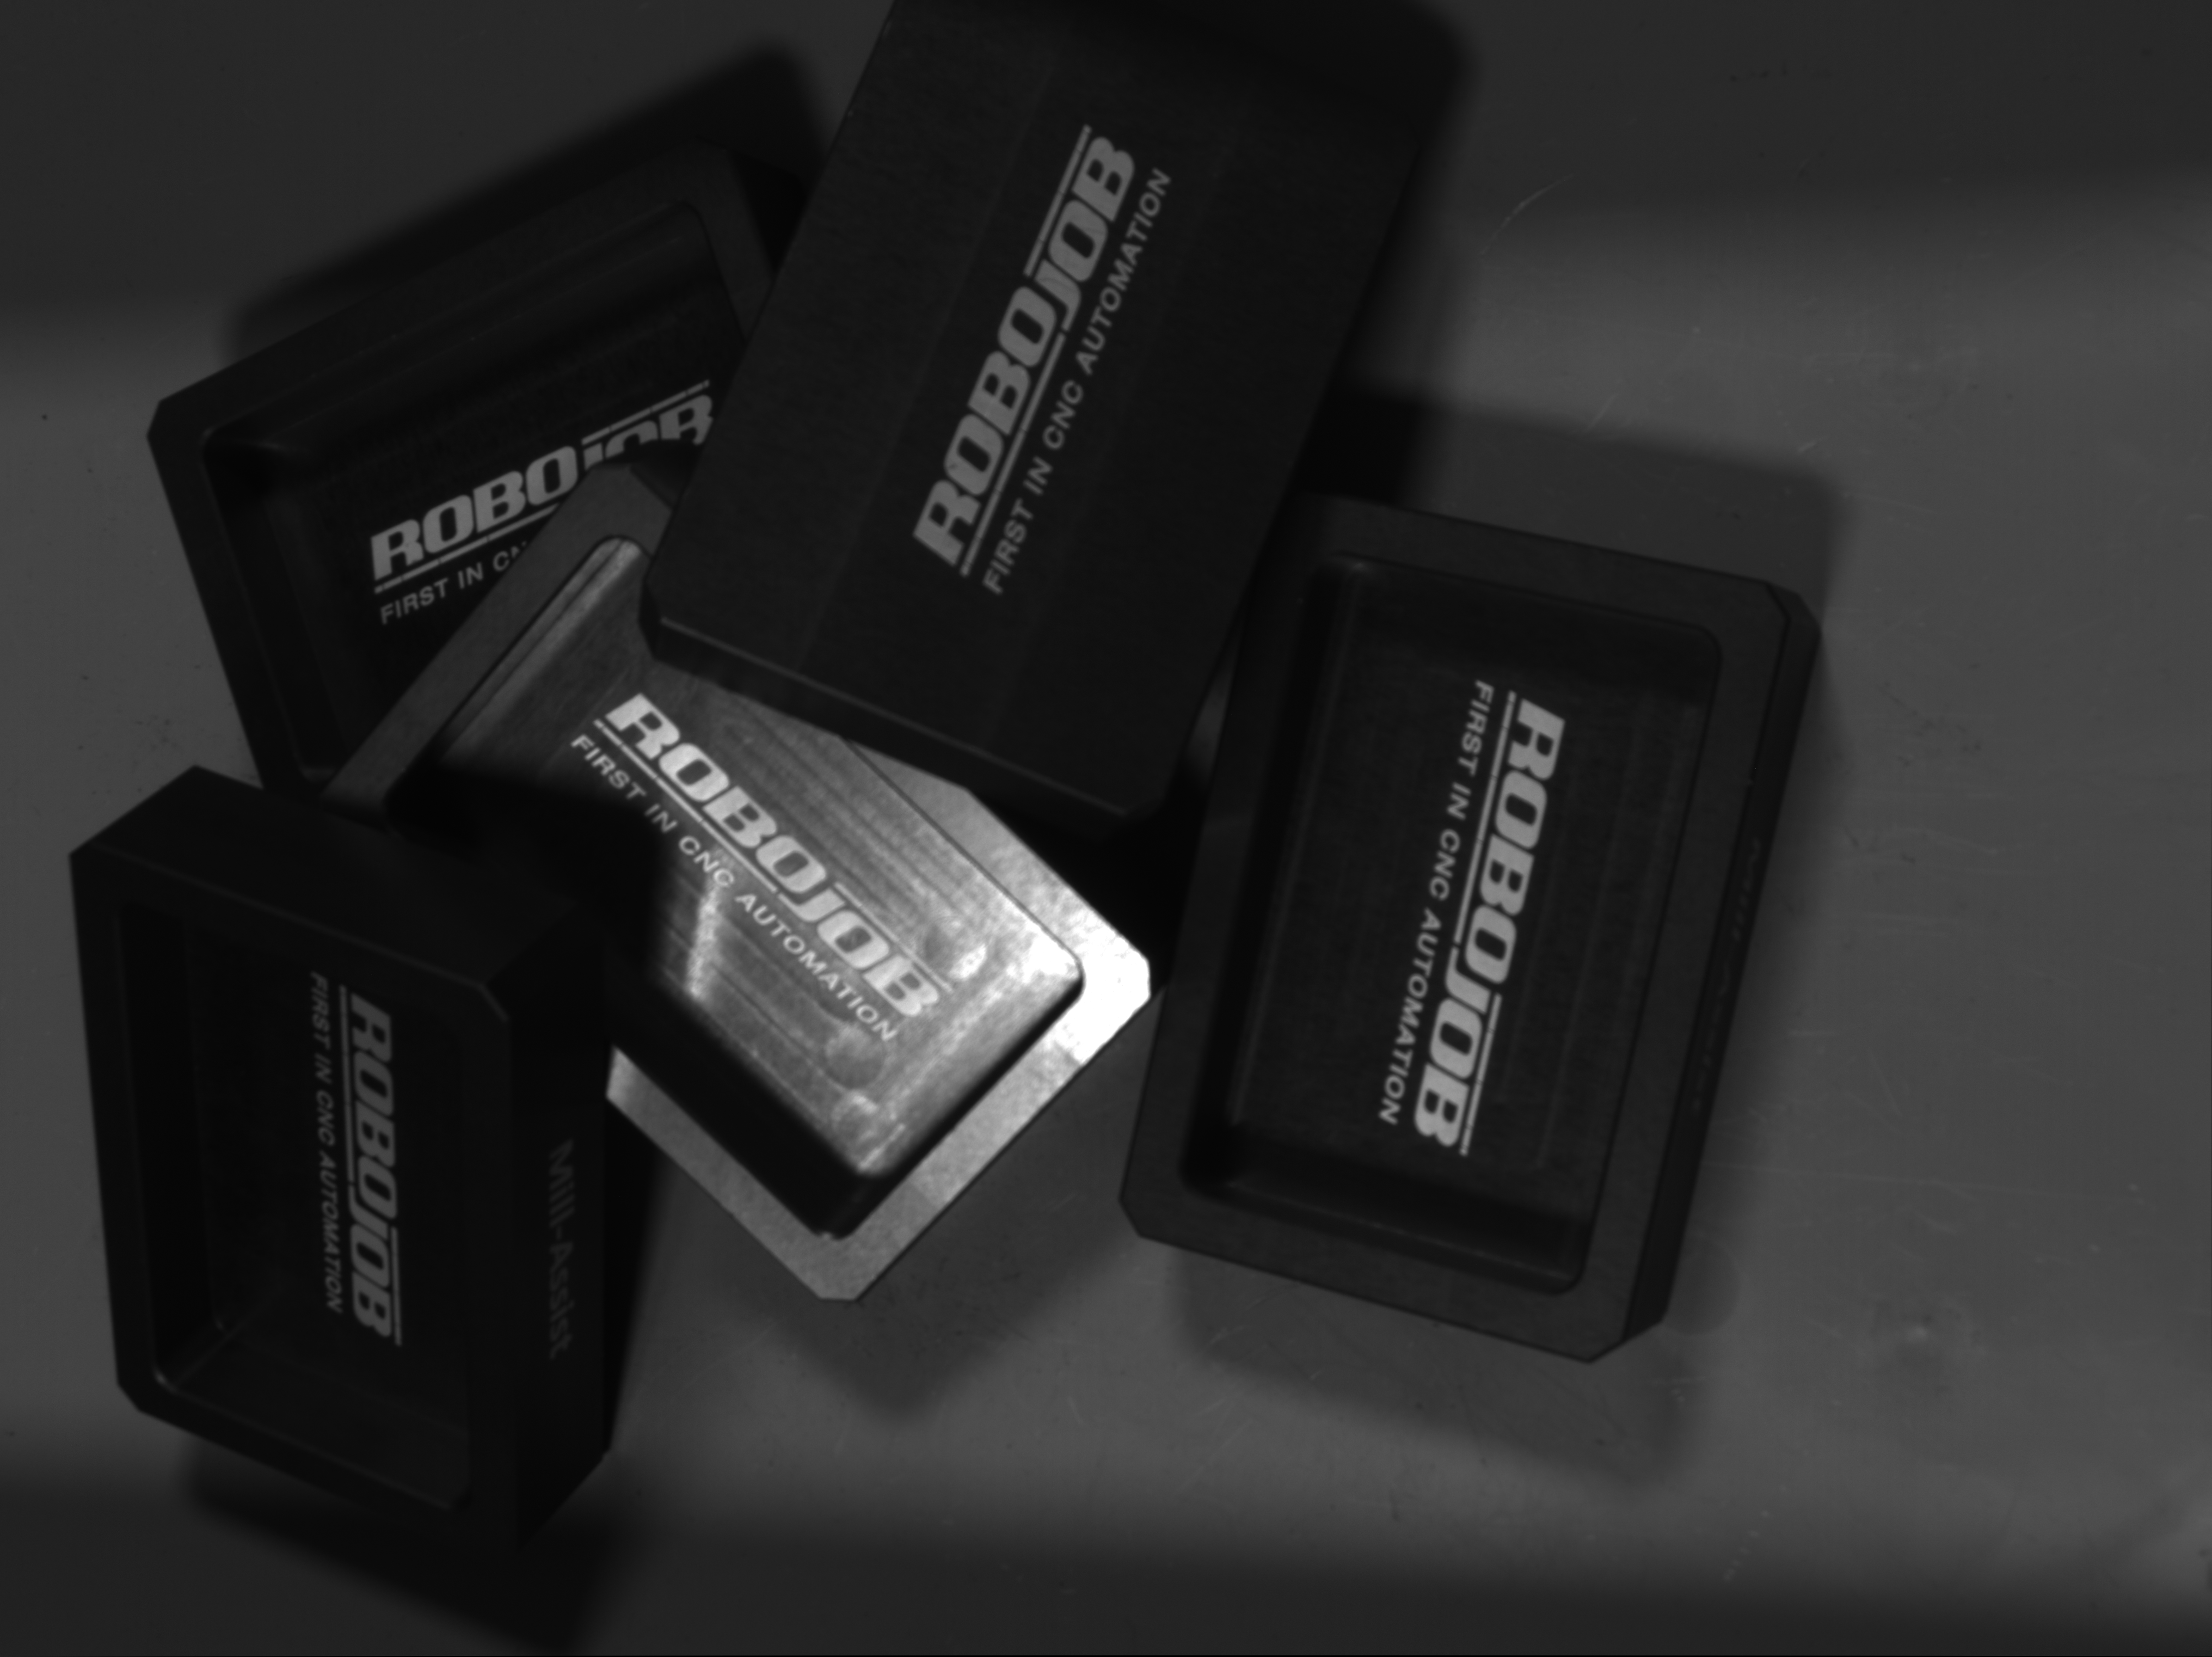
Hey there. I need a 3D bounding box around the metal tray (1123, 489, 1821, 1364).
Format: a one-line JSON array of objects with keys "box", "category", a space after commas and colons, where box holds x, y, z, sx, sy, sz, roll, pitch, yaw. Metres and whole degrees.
[{"box": [0.061, 0.015, 0.618, 0.090, 0.030, 0.130, 13, 94, 19], "category": "metal tray"}]

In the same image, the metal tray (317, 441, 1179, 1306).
[{"box": [-0.062, 0.008, 0.639, 0.130, 0.030, 0.090, 43, 111, 0], "category": "metal tray"}]

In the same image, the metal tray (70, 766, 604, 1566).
[{"box": [-0.137, 0.062, 0.658, 0.090, 0.030, 0.130, 18, 124, 19], "category": "metal tray"}]

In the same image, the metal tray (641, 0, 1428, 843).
[{"box": [-0.012, -0.074, 0.608, 0.090, 0.030, 0.130, 23, 78, -4], "category": "metal tray"}]

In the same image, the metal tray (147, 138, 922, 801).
[{"box": [-0.105, -0.060, 0.678, 0.130, 0.030, 0.090, -22, 83, 18], "category": "metal tray"}]
